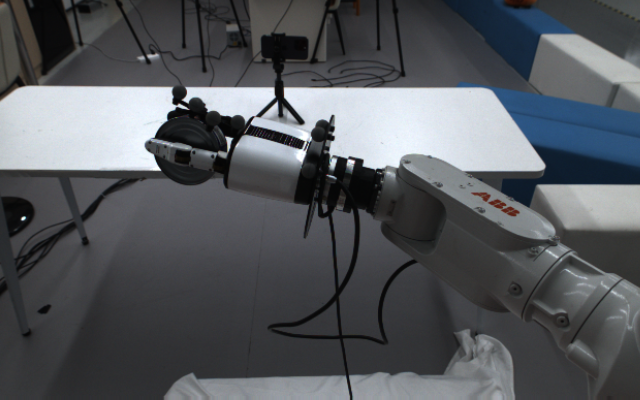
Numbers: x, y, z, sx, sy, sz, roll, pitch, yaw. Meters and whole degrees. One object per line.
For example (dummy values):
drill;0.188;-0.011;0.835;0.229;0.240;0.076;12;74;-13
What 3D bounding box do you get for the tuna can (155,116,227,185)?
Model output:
tuna can;-0.160;-0.064;0.605;0.085;0.085;0.034;7;17;7
